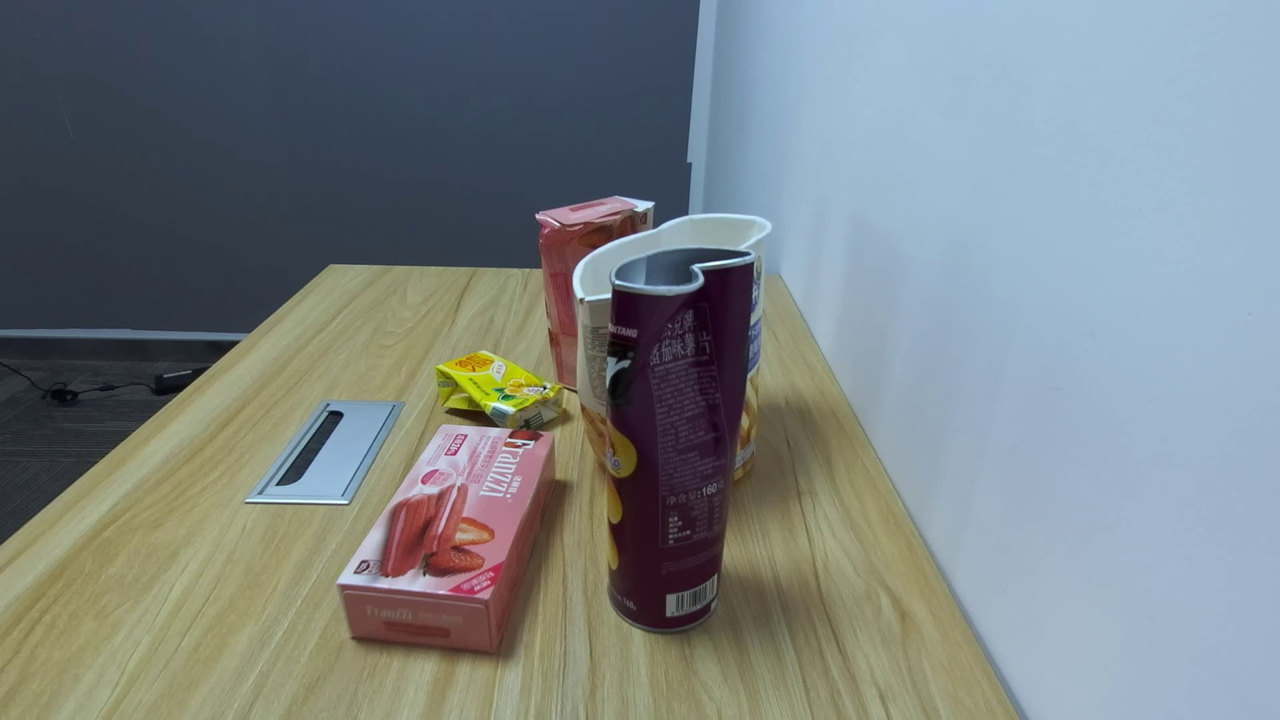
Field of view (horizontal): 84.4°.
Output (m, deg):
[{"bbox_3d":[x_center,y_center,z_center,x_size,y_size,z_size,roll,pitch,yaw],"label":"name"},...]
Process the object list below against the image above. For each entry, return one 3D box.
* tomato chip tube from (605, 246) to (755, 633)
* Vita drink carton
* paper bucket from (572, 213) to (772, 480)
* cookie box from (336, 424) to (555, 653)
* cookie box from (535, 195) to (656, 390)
[{"bbox_3d":[0.022,0.054,0.431,0.077,0.235,0.076,7,27,8],"label":"tomato chip tube"},{"bbox_3d":[-0.134,0.033,0.678,0.108,0.042,0.087,23,27,27],"label":"Vita drink carton"},{"bbox_3d":[0.033,-0.009,0.596,0.147,0.199,0.218,5,28,6],"label":"paper bucket"},{"bbox_3d":[-0.126,0.116,0.506,0.096,0.048,0.184,4,27,4],"label":"cookie box"},{"bbox_3d":[-0.038,-0.059,0.697,0.119,0.184,0.055,-19,23,-41],"label":"cookie box"}]
